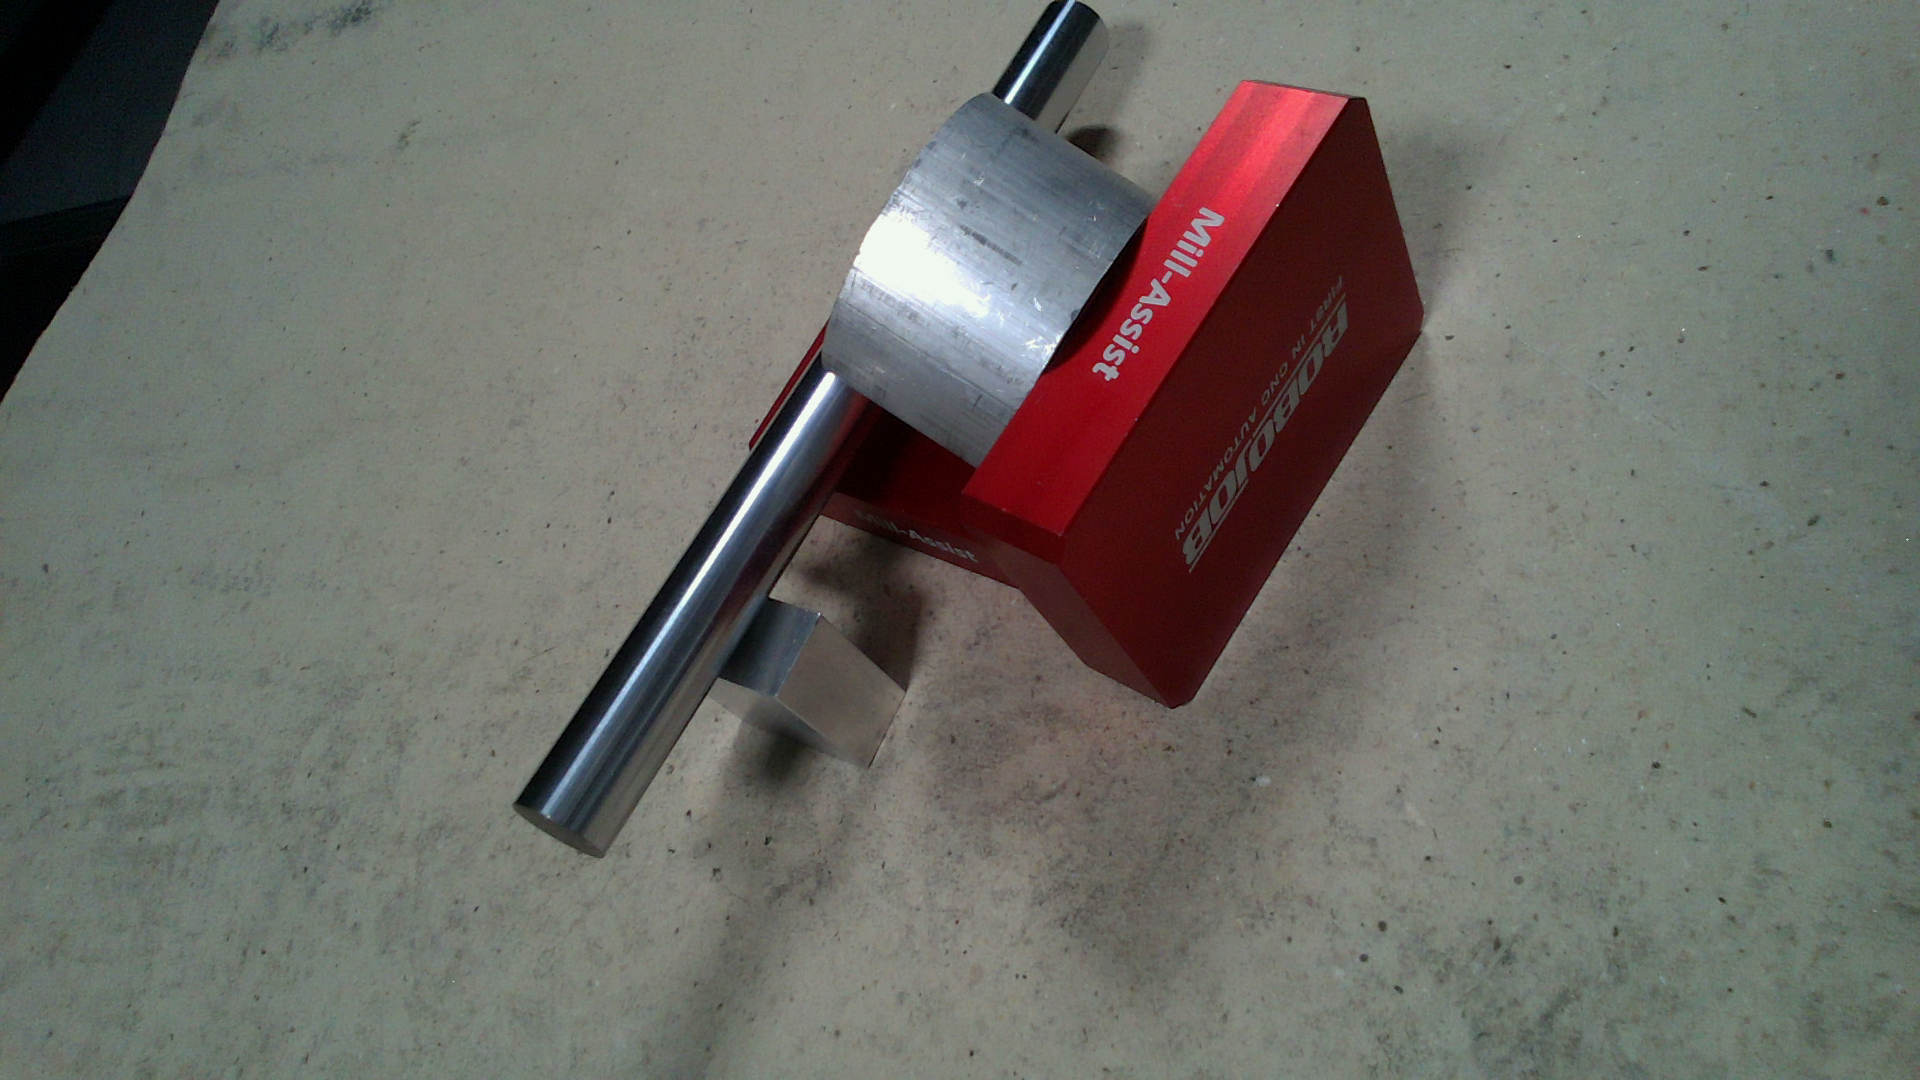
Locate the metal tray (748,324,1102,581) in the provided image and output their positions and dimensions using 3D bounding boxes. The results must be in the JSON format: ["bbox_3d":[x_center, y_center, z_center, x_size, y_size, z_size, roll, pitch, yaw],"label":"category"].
[{"bbox_3d":[0.009,-0.040,0.410,0.130,0.030,0.090,20,72,36],"label":"metal tray"}]

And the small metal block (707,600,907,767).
[{"bbox_3d":[-0.051,0.036,0.383,0.050,0.050,0.025,13,69,34],"label":"small metal block"}]

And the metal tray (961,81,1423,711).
[{"bbox_3d":[0.063,-0.033,0.338,0.030,0.090,0.130,25,75,37],"label":"metal tray"}]

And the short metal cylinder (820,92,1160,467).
[{"bbox_3d":[0.009,-0.063,0.345,0.050,0.080,0.080,33,78,5],"label":"short metal cylinder"}]

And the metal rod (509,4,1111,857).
[{"bbox_3d":[-0.028,-0.049,0.389,0.025,0.025,0.301,11,58,33],"label":"metal rod"}]
